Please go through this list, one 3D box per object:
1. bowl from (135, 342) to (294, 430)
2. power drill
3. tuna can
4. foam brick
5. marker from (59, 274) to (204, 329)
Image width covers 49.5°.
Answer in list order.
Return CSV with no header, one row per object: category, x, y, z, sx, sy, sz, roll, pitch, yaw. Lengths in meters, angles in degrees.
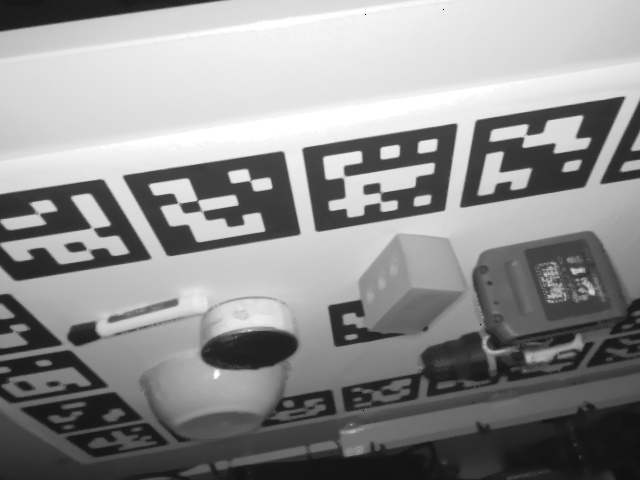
bowl,-0.102,0.153,0.706,0.162,0.055,0.160,-10,152,-5
power drill,0.199,0.067,0.649,0.184,0.058,0.186,-7,147,2
tuna can,-0.064,0.072,0.602,0.086,0.034,0.085,-5,145,-3
foam brick,0.074,0.017,0.557,0.052,0.053,0.077,7,140,-20
marker,-0.154,0.050,0.561,0.121,0.020,0.019,-14,143,6
